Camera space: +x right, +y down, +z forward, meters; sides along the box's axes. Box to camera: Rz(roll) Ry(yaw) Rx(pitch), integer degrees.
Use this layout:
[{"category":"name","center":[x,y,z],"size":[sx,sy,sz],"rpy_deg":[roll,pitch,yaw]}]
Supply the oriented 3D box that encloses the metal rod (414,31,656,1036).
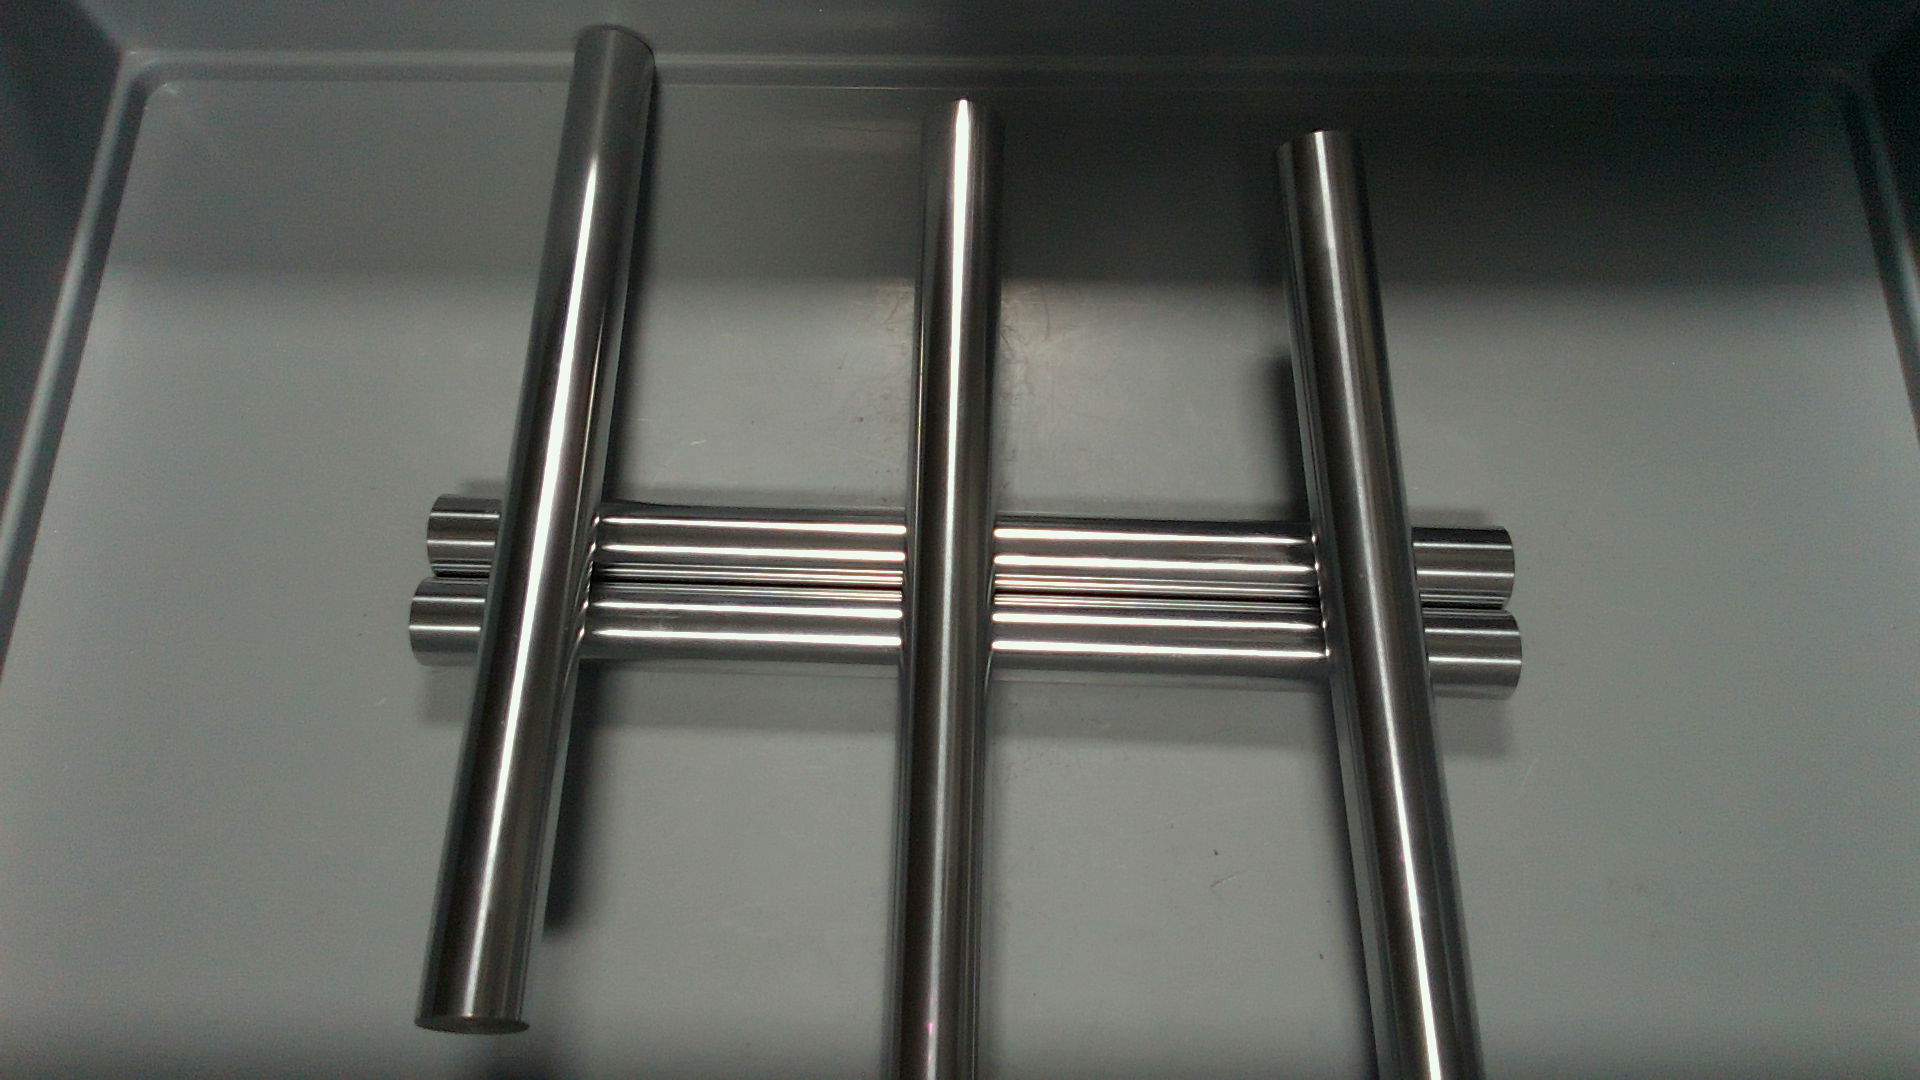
[{"category":"metal rod","center":[-0.110,-0.024,0.376],"size":[0.025,0.025,0.300],"rpy_deg":[-1,62,0]}]

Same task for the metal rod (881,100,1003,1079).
[{"category":"metal rod","center":[-0.003,0.017,0.361],"size":[0.025,0.025,0.300],"rpy_deg":[1,70,1]}]

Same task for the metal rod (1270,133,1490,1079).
[{"category":"metal rod","center":[0.110,0.039,0.356],"size":[0.025,0.025,0.300],"rpy_deg":[-4,78,-1]}]

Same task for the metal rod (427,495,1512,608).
[{"category":"metal rod","center":[0.002,0.004,0.393],"size":[0.300,0.025,0.025],"rpy_deg":[2,70,0]}]

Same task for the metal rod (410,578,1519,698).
[{"category":"metal rod","center":[0.001,0.027,0.384],"size":[0.300,0.025,0.025],"rpy_deg":[2,70,0]}]
